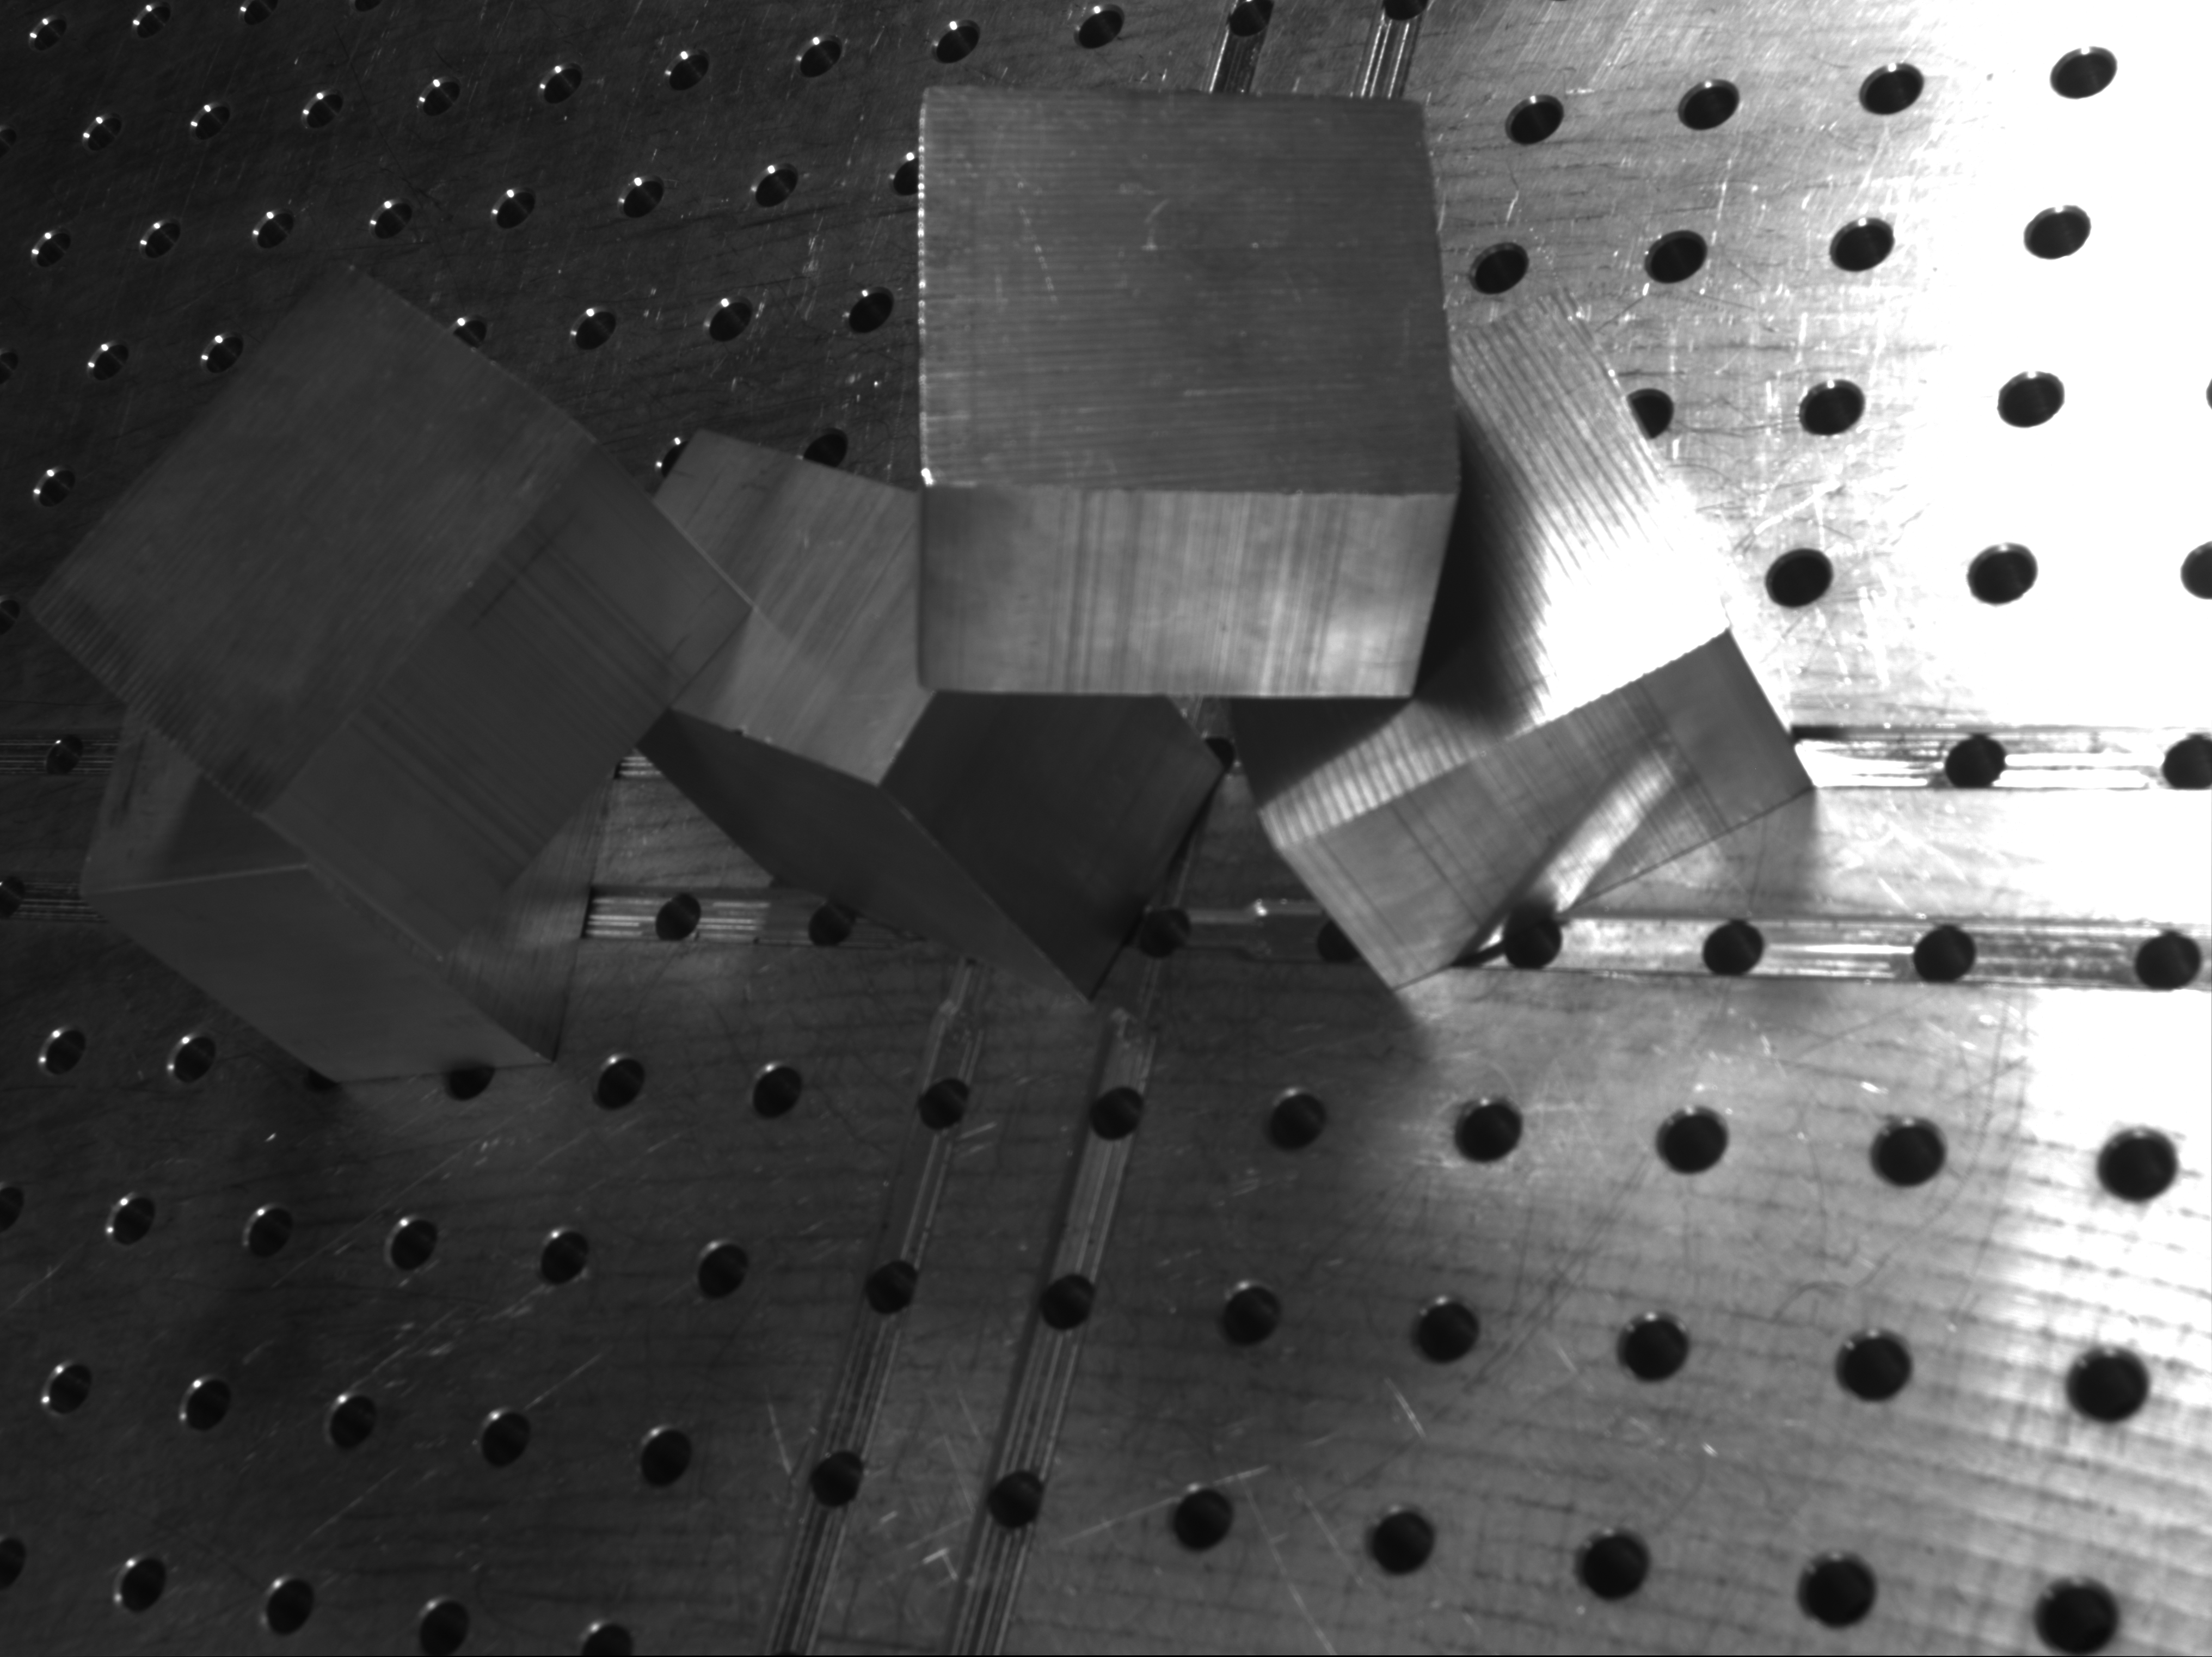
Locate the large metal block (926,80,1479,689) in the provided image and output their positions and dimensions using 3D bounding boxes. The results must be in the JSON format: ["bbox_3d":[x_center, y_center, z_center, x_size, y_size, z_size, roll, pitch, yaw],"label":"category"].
[{"bbox_3d":[0.012,-0.070,0.579,0.080,0.050,0.080,1,58,-4],"label":"large metal block"}]

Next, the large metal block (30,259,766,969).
[{"bbox_3d":[-0.119,-0.037,0.613,0.080,0.050,0.080,-49,50,-7],"label":"large metal block"}]

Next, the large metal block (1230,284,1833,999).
[{"bbox_3d":[0.065,-0.031,0.616,0.080,0.050,0.080,-27,52,11],"label":"large metal block"}]

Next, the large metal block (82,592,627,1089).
[{"bbox_3d":[-0.137,-0.006,0.689,0.050,0.080,0.080,-6,59,25],"label":"large metal block"}]

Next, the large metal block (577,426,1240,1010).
[{"bbox_3d":[-0.036,-0.019,0.642,0.080,0.080,0.050,20,72,36],"label":"large metal block"}]
